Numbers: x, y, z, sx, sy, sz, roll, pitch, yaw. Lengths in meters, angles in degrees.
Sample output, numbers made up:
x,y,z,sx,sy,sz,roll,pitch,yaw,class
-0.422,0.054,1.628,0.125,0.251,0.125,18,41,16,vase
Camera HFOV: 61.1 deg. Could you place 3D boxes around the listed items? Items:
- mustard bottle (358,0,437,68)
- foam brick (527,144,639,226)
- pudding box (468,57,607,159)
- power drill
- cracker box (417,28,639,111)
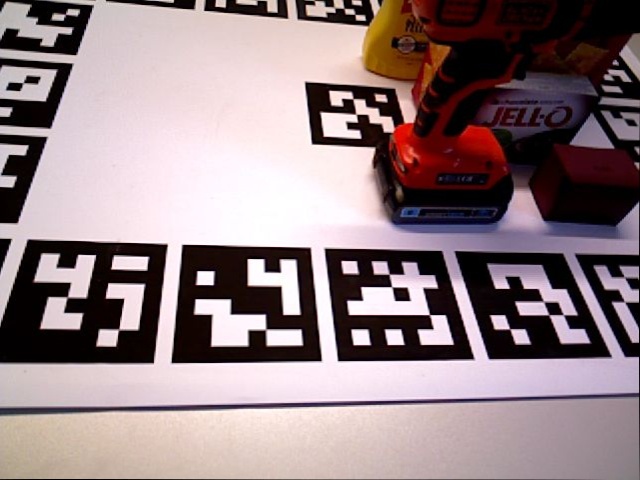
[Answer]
x,y,z,sx,sy,sz,roll,pitch,yaw,class
0.103,-0.272,0.542,0.096,0.196,0.057,12,52,-2,mustard bottle
0.243,-0.049,0.501,0.077,0.052,0.052,3,54,-9,foam brick
0.186,-0.122,0.504,0.113,0.092,0.038,1,51,-7,pudding box
0.143,-0.119,0.403,0.183,0.191,0.056,1,49,-11,power drill
0.197,-0.194,0.491,0.163,0.219,0.071,-1,51,-9,cracker box
